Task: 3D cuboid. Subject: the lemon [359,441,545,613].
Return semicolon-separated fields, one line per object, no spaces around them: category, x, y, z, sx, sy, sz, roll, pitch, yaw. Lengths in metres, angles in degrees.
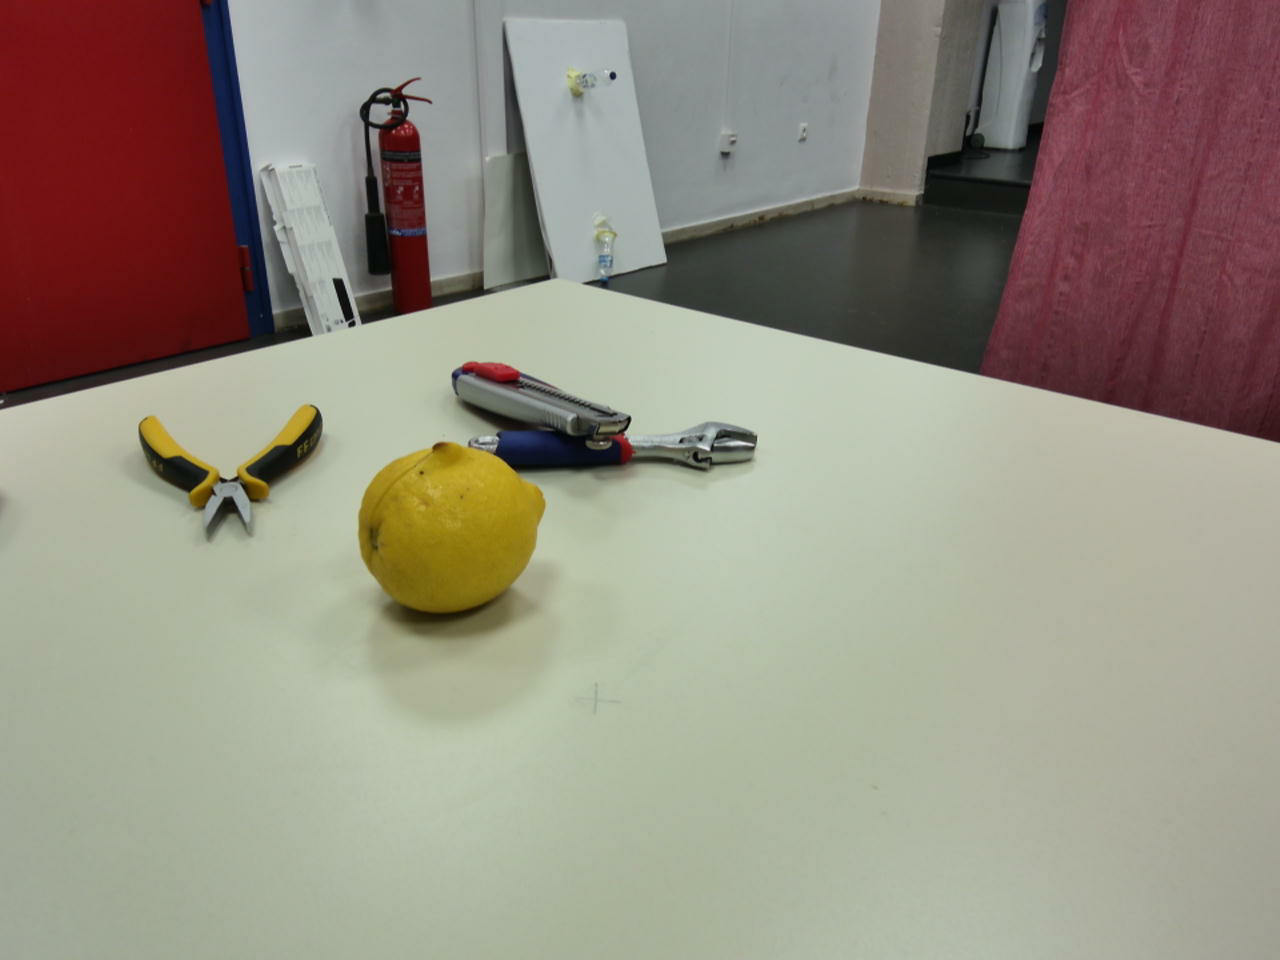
lemon;-0.078;0.016;0.405;0.071;0.071;0.070;2;23;5
